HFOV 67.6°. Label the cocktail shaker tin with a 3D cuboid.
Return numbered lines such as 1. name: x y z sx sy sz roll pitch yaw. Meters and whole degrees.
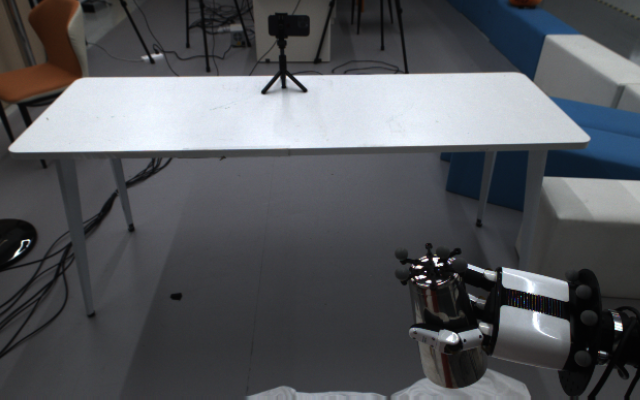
1. cocktail shaker tin: 0.167 0.157 0.649 0.093 0.170 0.093 -15 29 8
